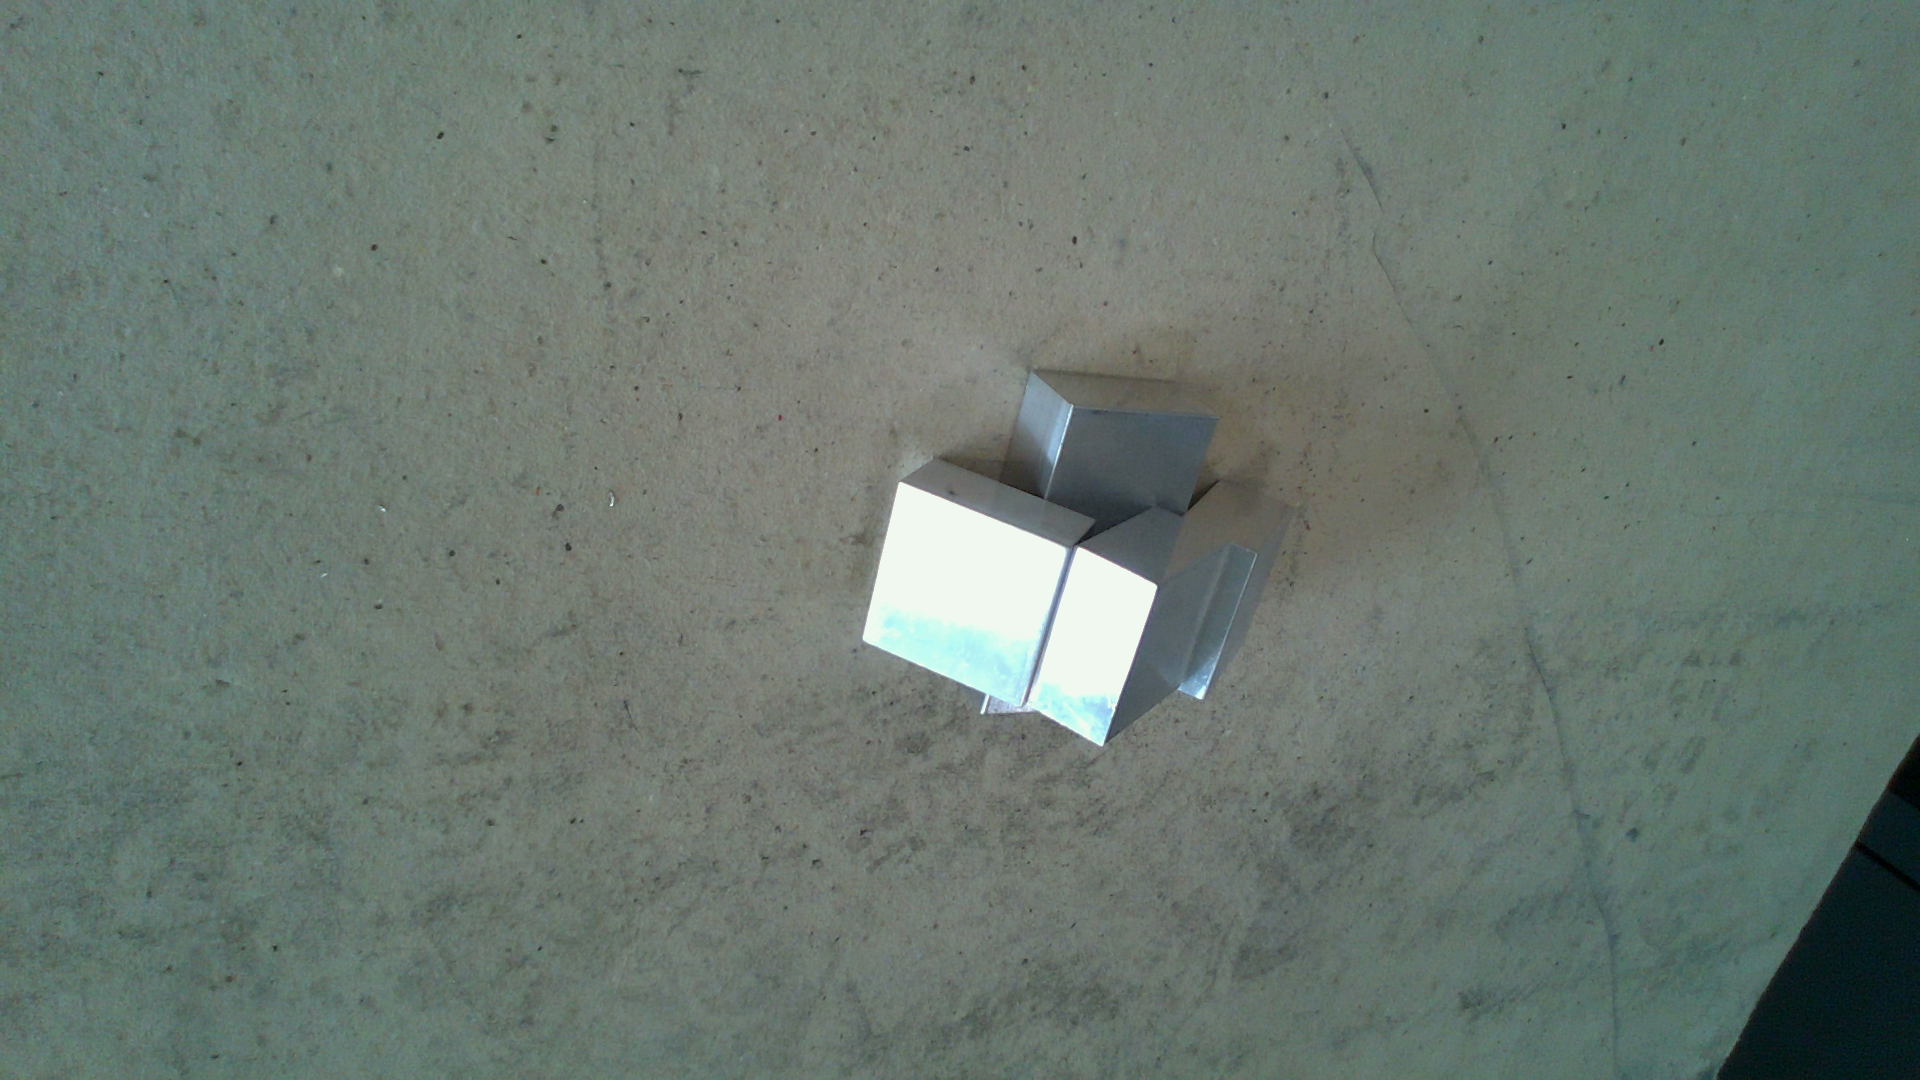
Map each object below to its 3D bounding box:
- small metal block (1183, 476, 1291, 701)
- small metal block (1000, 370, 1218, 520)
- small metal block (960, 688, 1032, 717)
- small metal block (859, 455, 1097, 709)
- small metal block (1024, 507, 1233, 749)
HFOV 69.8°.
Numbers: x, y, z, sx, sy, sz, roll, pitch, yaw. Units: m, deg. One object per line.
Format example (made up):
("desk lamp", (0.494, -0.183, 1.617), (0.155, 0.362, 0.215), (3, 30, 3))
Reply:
("small metal block", (0.077, 0.014, 0.424), (0.050, 0.025, 0.050), (-36, 145, -60))
("small metal block", (0.041, -0.020, 0.399), (0.050, 0.025, 0.050), (1, 118, -29))
("small metal block", (0.029, 0.025, 0.420), (0.050, 0.025, 0.050), (1, 118, -29))
("small metal block", (0.005, 0.011, 0.381), (0.025, 0.050, 0.050), (-40, 149, -61))
("small metal block", (0.047, 0.023, 0.383), (0.050, 0.025, 0.050), (-23, 135, -54))
